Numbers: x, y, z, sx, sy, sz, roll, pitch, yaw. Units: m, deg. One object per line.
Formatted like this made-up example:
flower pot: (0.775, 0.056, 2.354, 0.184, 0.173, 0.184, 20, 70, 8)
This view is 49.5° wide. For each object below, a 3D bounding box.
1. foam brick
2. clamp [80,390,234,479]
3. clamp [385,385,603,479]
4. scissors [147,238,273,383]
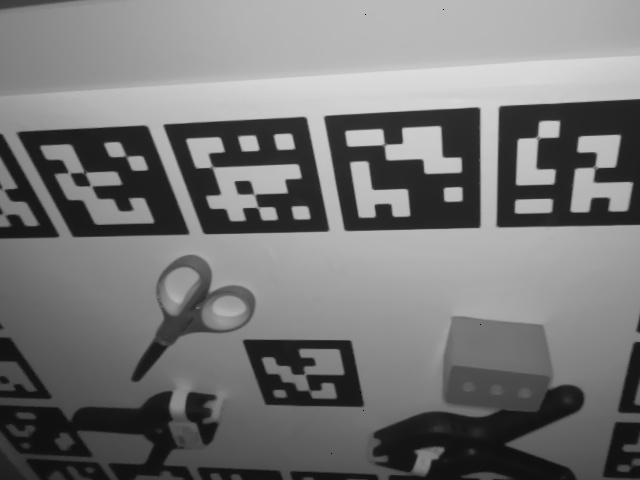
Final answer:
foam brick: (0.160, 0.094, 0.581, 0.078, 0.052, 0.052, 2, 126, 2)
clamp: (-0.157, 0.198, 0.722, 0.163, 0.037, 0.122, -27, 112, 25)
clamp: (0.164, 0.199, 0.668, 0.201, 0.037, 0.164, -5, 129, 13)
scissors: (-0.116, 0.080, 0.628, 0.088, 0.016, 0.199, 34, 127, -7)
